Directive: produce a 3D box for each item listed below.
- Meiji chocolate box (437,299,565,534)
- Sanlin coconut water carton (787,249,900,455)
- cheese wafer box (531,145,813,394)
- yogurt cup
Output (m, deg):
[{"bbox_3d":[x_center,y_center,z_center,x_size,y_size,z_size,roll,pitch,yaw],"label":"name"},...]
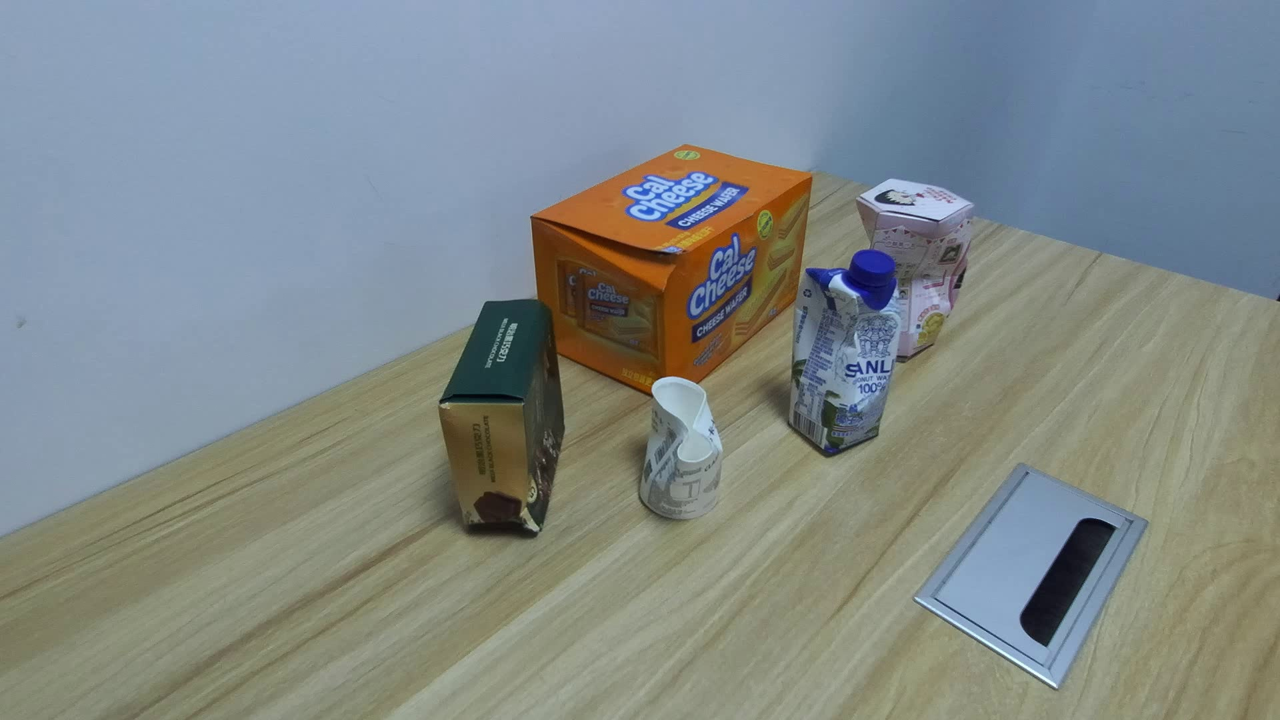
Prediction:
[{"bbox_3d":[-0.088,0.036,0.469,0.058,0.116,0.122,3,34,3],"label":"Meiji chocolate box"},{"bbox_3d":[0.146,-0.011,0.504,0.057,0.145,0.068,-15,29,-31],"label":"Sanlin coconut water carton"},{"bbox_3d":[0.034,-0.089,0.626,0.149,0.137,0.228,24,42,30],"label":"cheese wafer box"},{"bbox_3d":[0.026,0.061,0.459,0.054,0.071,0.075,-25,41,-28],"label":"yogurt cup"}]
